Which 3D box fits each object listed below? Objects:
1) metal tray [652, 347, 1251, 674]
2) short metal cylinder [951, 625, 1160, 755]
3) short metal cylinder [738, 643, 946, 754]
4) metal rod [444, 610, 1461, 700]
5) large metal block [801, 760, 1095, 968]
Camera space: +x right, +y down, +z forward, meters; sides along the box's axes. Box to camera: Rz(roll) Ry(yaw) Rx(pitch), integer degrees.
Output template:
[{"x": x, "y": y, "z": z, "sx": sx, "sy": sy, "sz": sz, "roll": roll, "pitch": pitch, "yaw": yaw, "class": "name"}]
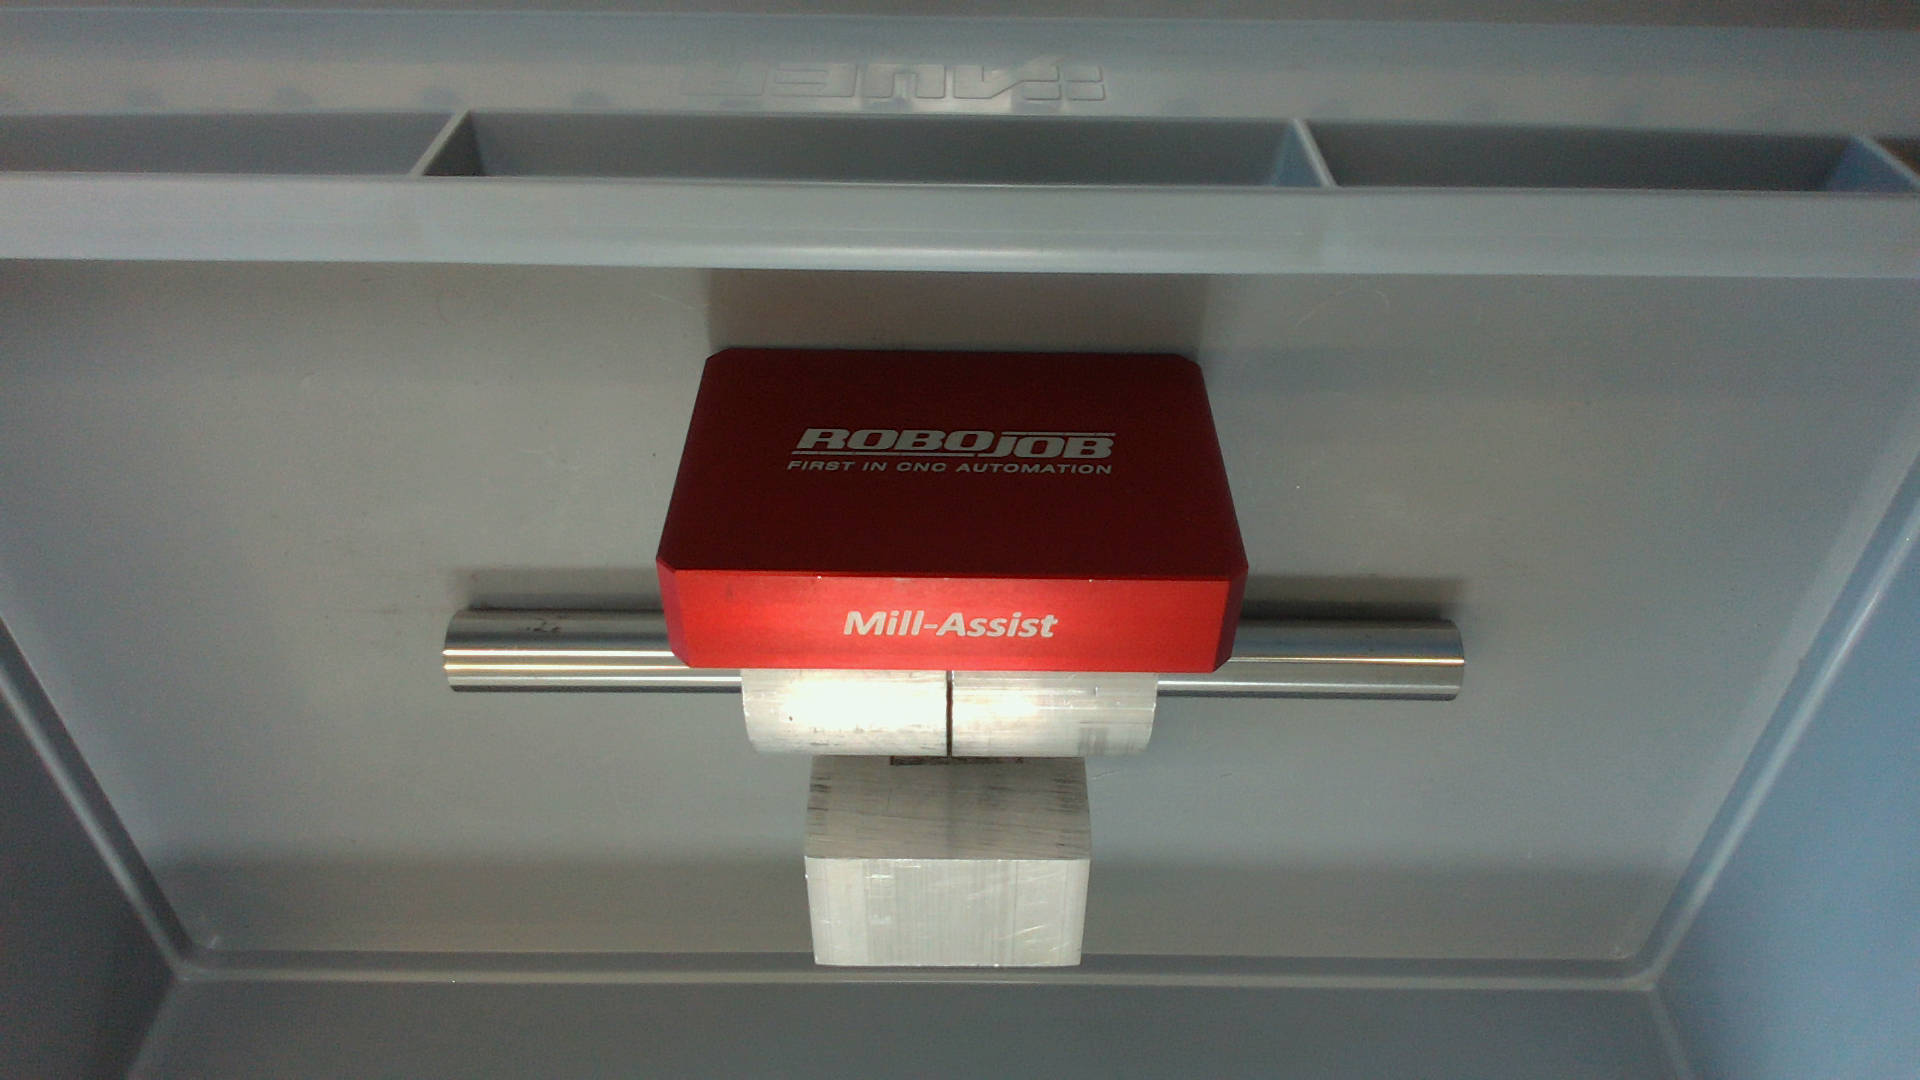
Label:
[{"x": -0.002, "y": -0.010, "z": 0.338, "sx": 0.130, "sy": 0.090, "sz": 0.030, "roll": 1, "pitch": 130, "yaw": -1, "class": "metal tray"}, {"x": 0.023, "y": 0.017, "z": 0.369, "sx": 0.050, "sy": 0.080, "sz": 0.080, "roll": 1, "pitch": 130, "yaw": -1, "class": "short metal cylinder"}, {"x": -0.028, "y": 0.017, "z": 0.368, "sx": 0.050, "sy": 0.080, "sz": 0.080, "roll": 0, "pitch": 130, "yaw": 0, "class": "short metal cylinder"}, {"x": -0.001, "y": 0.035, "z": 0.418, "sx": 0.300, "sy": 0.025, "sz": 0.025, "roll": 1, "pitch": 130, "yaw": -1, "class": "metal rod"}, {"x": -0.003, "y": 0.082, "z": 0.421, "sx": 0.080, "sy": 0.080, "sz": 0.050, "roll": 1, "pitch": 130, "yaw": -1, "class": "large metal block"}]
